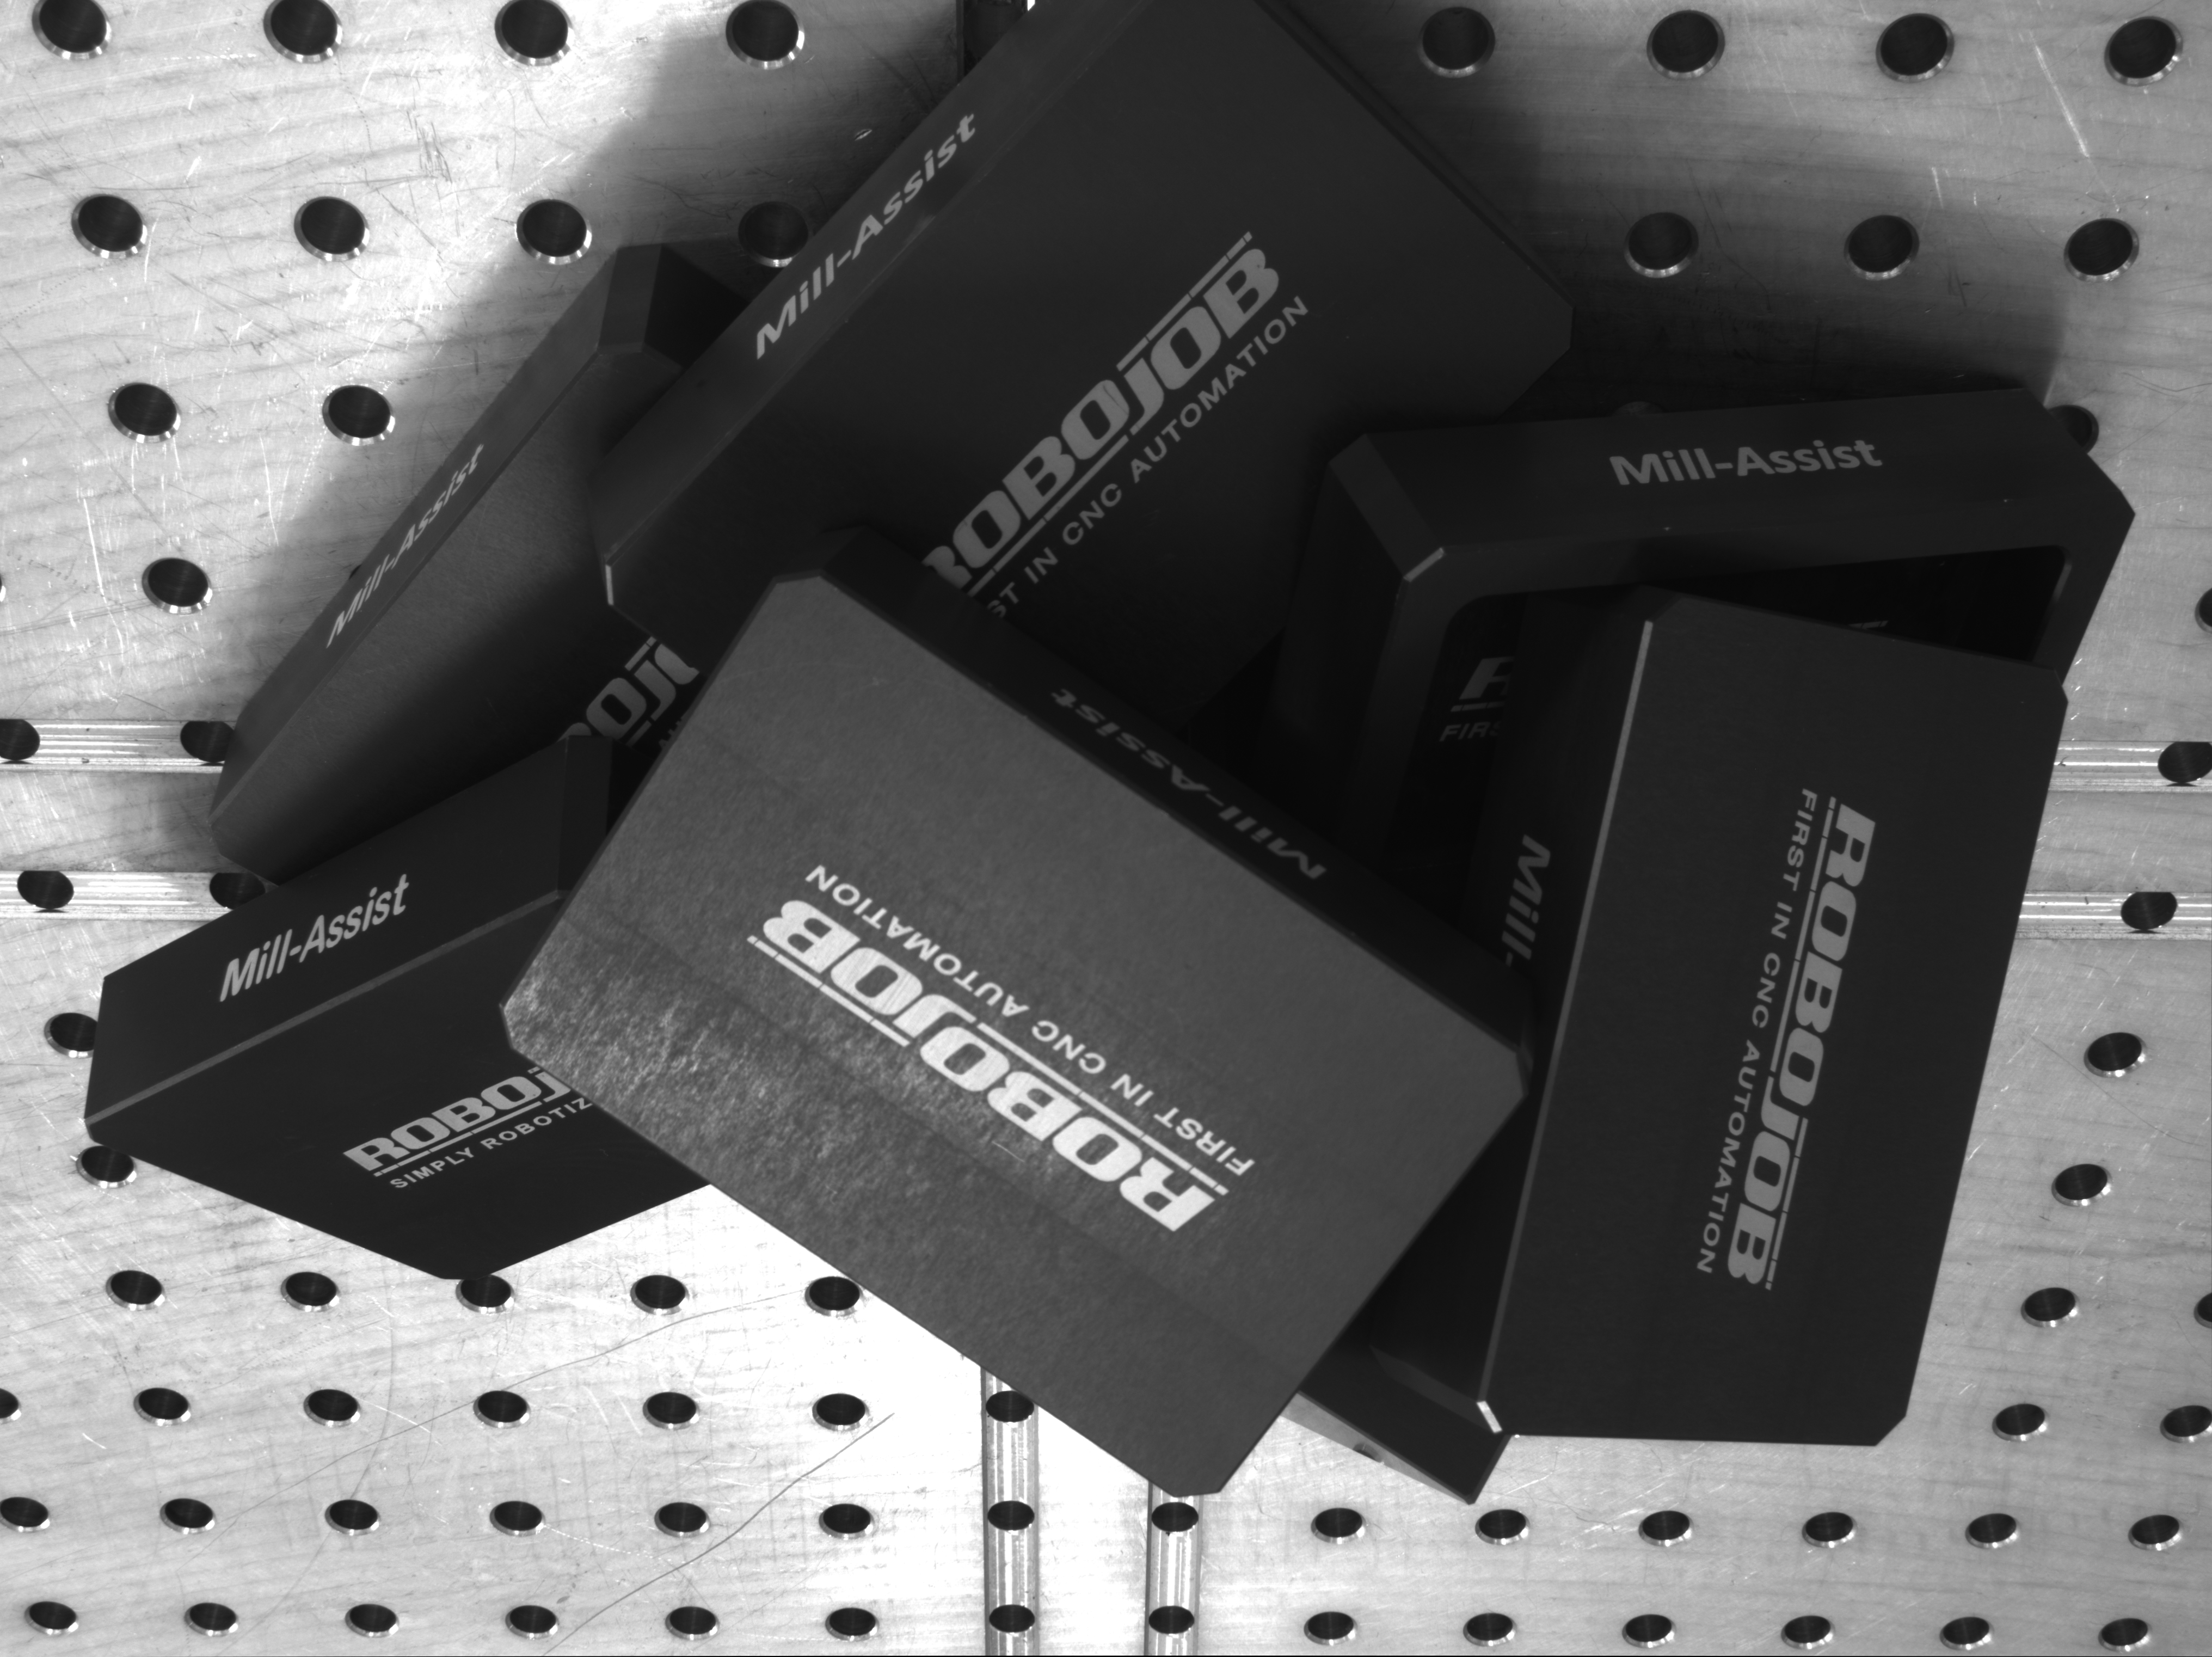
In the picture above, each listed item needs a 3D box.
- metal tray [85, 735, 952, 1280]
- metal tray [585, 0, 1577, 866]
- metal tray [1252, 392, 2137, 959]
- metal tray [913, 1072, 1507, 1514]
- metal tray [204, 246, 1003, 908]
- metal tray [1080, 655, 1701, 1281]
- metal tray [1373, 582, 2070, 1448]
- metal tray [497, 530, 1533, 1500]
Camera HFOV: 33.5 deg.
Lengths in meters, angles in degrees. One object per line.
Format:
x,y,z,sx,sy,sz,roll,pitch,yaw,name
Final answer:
-0.102,0.035,0.639,0.130,0.030,0.090,-24,143,33,metal tray
-0.005,-0.064,0.562,0.130,0.030,0.090,-44,121,14,metal tray
0.092,-0.022,0.592,0.130,0.030,0.090,-6,132,-22,metal tray
0.008,0.072,0.643,0.090,0.130,0.030,35,80,-26,metal tray
-0.080,-0.025,0.618,0.090,0.030,0.130,31,123,-24,metal tray
0.052,0.025,0.622,0.130,0.090,0.030,37,121,-26,metal tray
0.099,0.031,0.583,0.090,0.030,0.130,8,97,-33,metal tray
-0.013,0.028,0.548,0.130,0.030,0.090,35,110,-2,metal tray
